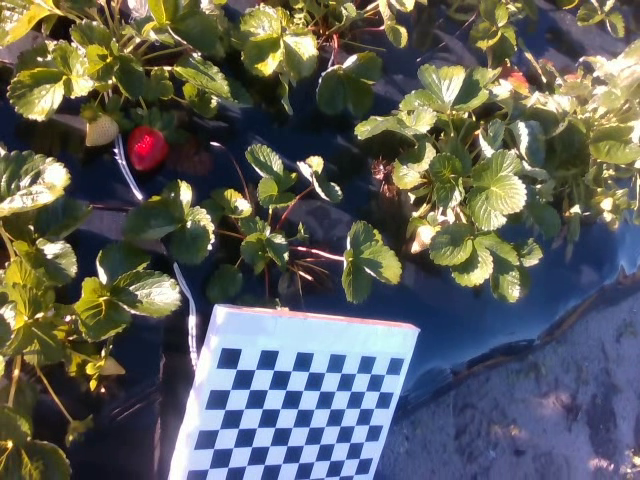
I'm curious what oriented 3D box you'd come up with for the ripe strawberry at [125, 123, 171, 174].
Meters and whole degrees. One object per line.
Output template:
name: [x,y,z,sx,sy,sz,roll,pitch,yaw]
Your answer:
ripe strawberry: [-0.214,-0.117,0.763,0.040,0.080,0.062,-20,-48,29]
